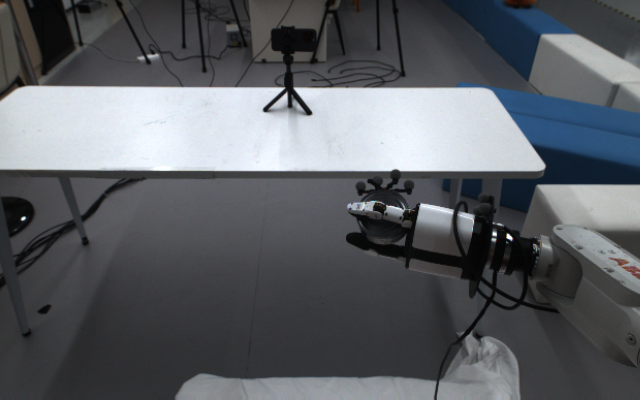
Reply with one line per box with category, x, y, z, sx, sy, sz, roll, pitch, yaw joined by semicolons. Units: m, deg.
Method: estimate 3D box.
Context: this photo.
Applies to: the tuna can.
tuna can;0.102;0.028;0.776;0.085;0.034;0.085;-6;61;10
